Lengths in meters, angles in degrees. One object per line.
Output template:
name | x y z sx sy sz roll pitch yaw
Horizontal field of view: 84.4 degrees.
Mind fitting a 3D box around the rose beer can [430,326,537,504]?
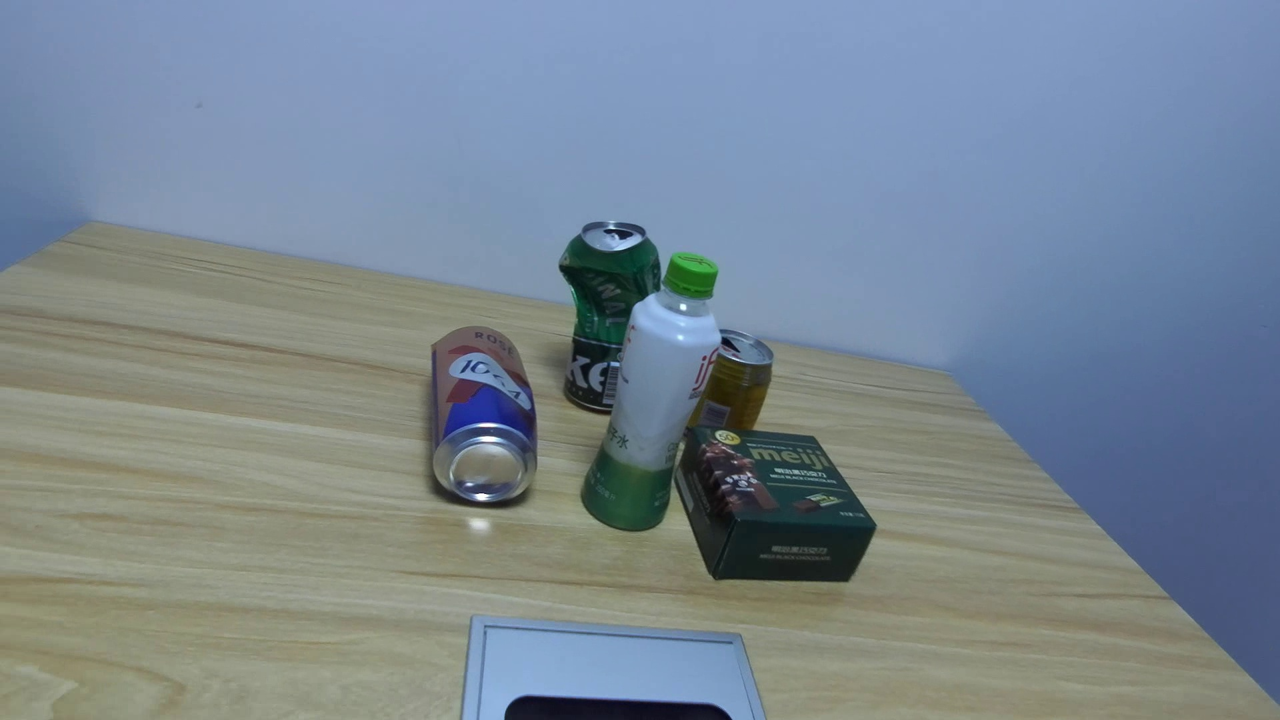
rose beer can | -0.116 0.031 0.528 0.070 0.069 0.167 -12 31 -8

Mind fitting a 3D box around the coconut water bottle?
coconut water bottle | 0.011 0.023 0.468 0.063 0.188 0.063 13 26 -6

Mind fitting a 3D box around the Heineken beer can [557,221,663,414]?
Heineken beer can | -0.022 -0.034 0.600 0.079 0.159 0.067 -10 31 -29

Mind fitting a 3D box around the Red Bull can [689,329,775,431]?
Red Bull can | 0.070 0.027 0.600 0.069 0.092 0.069 13 25 -6

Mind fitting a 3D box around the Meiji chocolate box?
Meiji chocolate box | 0.094 0.103 0.514 0.110 0.056 0.109 8 27 -18
